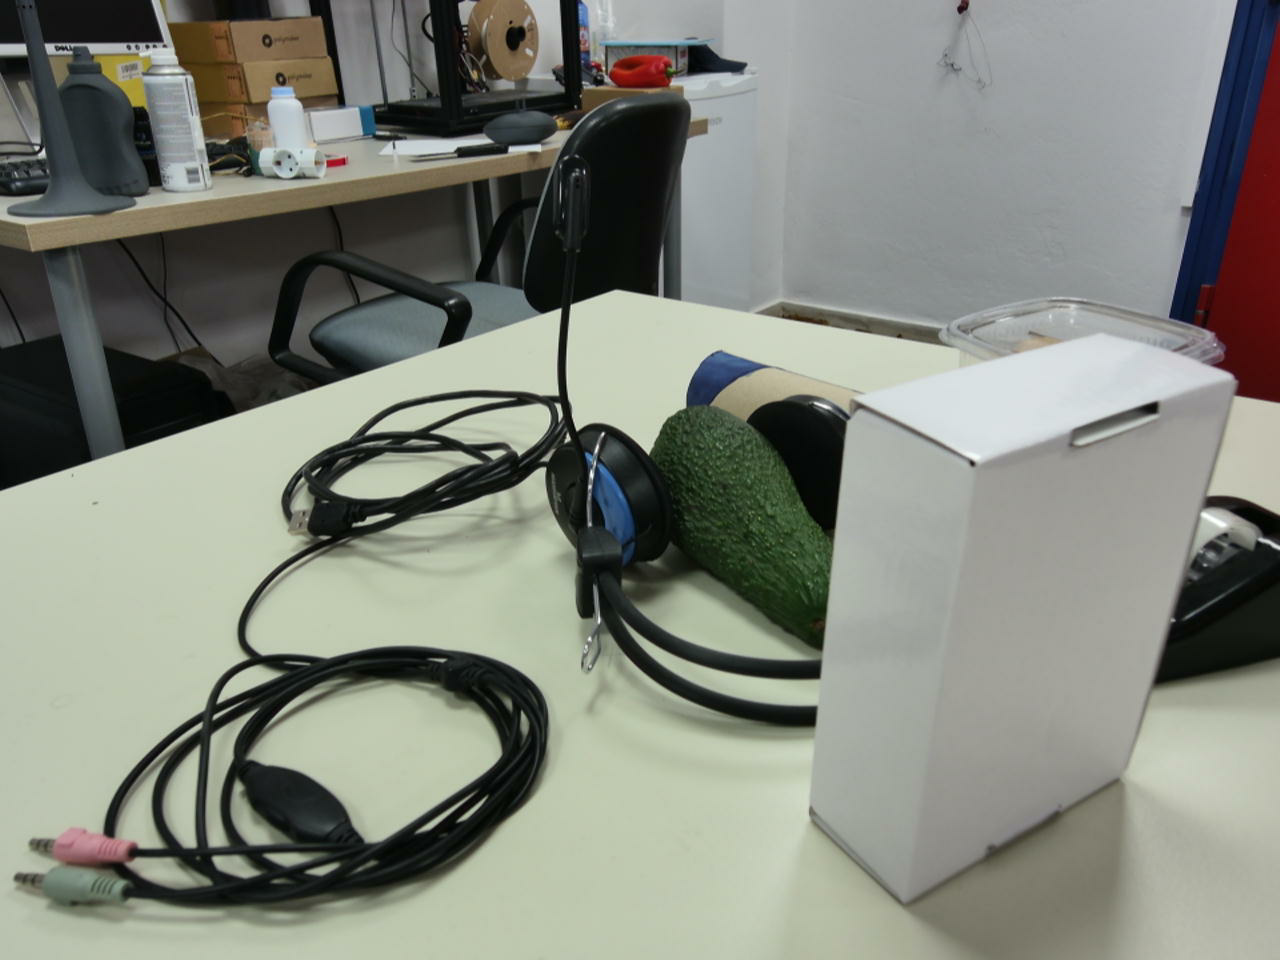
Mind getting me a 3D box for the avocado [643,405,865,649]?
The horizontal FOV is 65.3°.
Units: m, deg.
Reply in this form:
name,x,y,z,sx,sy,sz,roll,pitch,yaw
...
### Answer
name,x,y,z,sx,sy,sz,roll,pitch,yaw
avocado,0.051,0.012,0.422,0.063,0.067,0.141,-16,27,-33
